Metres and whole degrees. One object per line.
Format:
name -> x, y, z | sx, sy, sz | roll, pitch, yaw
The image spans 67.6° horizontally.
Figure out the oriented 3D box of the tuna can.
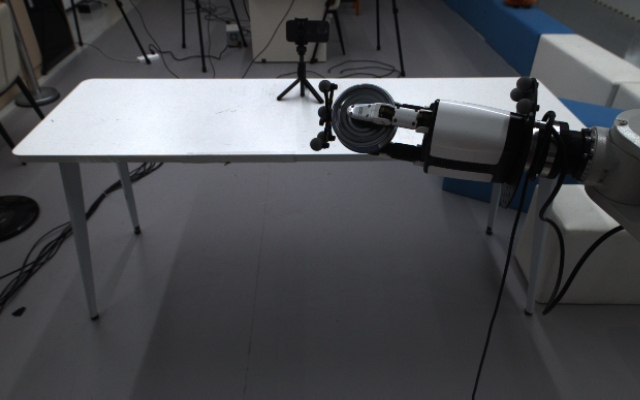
tuna can -> 0.062, -0.103, 0.628 | 0.085, 0.085, 0.034 | 9, -6, 10
